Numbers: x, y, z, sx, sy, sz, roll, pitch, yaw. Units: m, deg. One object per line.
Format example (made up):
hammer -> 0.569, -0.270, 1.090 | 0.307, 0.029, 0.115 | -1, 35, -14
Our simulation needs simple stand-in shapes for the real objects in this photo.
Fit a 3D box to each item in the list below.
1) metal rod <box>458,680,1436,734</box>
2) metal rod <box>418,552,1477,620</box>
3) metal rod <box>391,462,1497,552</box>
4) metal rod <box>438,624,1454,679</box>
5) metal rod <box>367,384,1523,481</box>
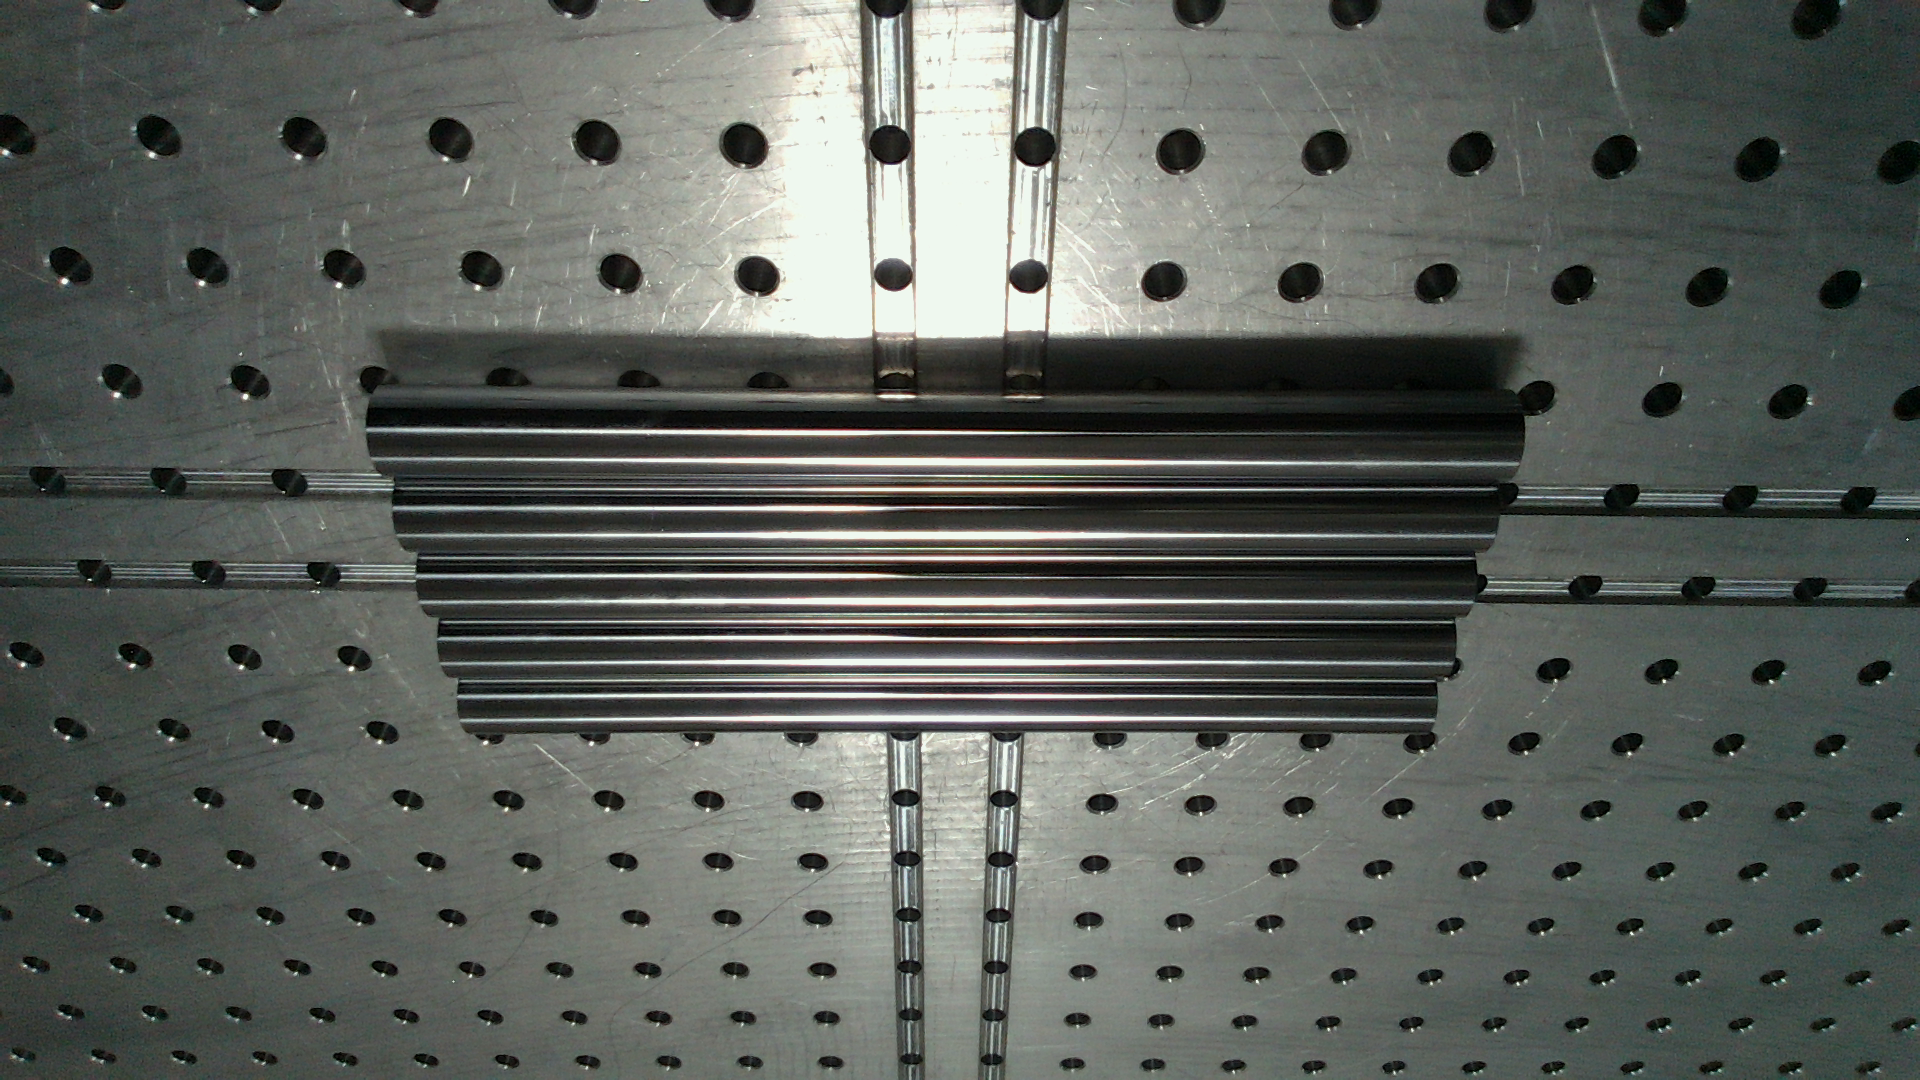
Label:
metal rod -> -0.004, 0.048, 0.434 | 0.300, 0.025, 0.025 | 0, 130, 0
metal rod -> -0.003, 0.011, 0.402 | 0.300, 0.025, 0.025 | 0, 130, 0
metal rod -> -0.004, -0.009, 0.386 | 0.300, 0.025, 0.025 | 0, 130, 0
metal rod -> -0.004, 0.030, 0.418 | 0.300, 0.025, 0.025 | 0, 130, 0
metal rod -> -0.003, -0.029, 0.369 | 0.300, 0.025, 0.025 | 0, 130, 0
